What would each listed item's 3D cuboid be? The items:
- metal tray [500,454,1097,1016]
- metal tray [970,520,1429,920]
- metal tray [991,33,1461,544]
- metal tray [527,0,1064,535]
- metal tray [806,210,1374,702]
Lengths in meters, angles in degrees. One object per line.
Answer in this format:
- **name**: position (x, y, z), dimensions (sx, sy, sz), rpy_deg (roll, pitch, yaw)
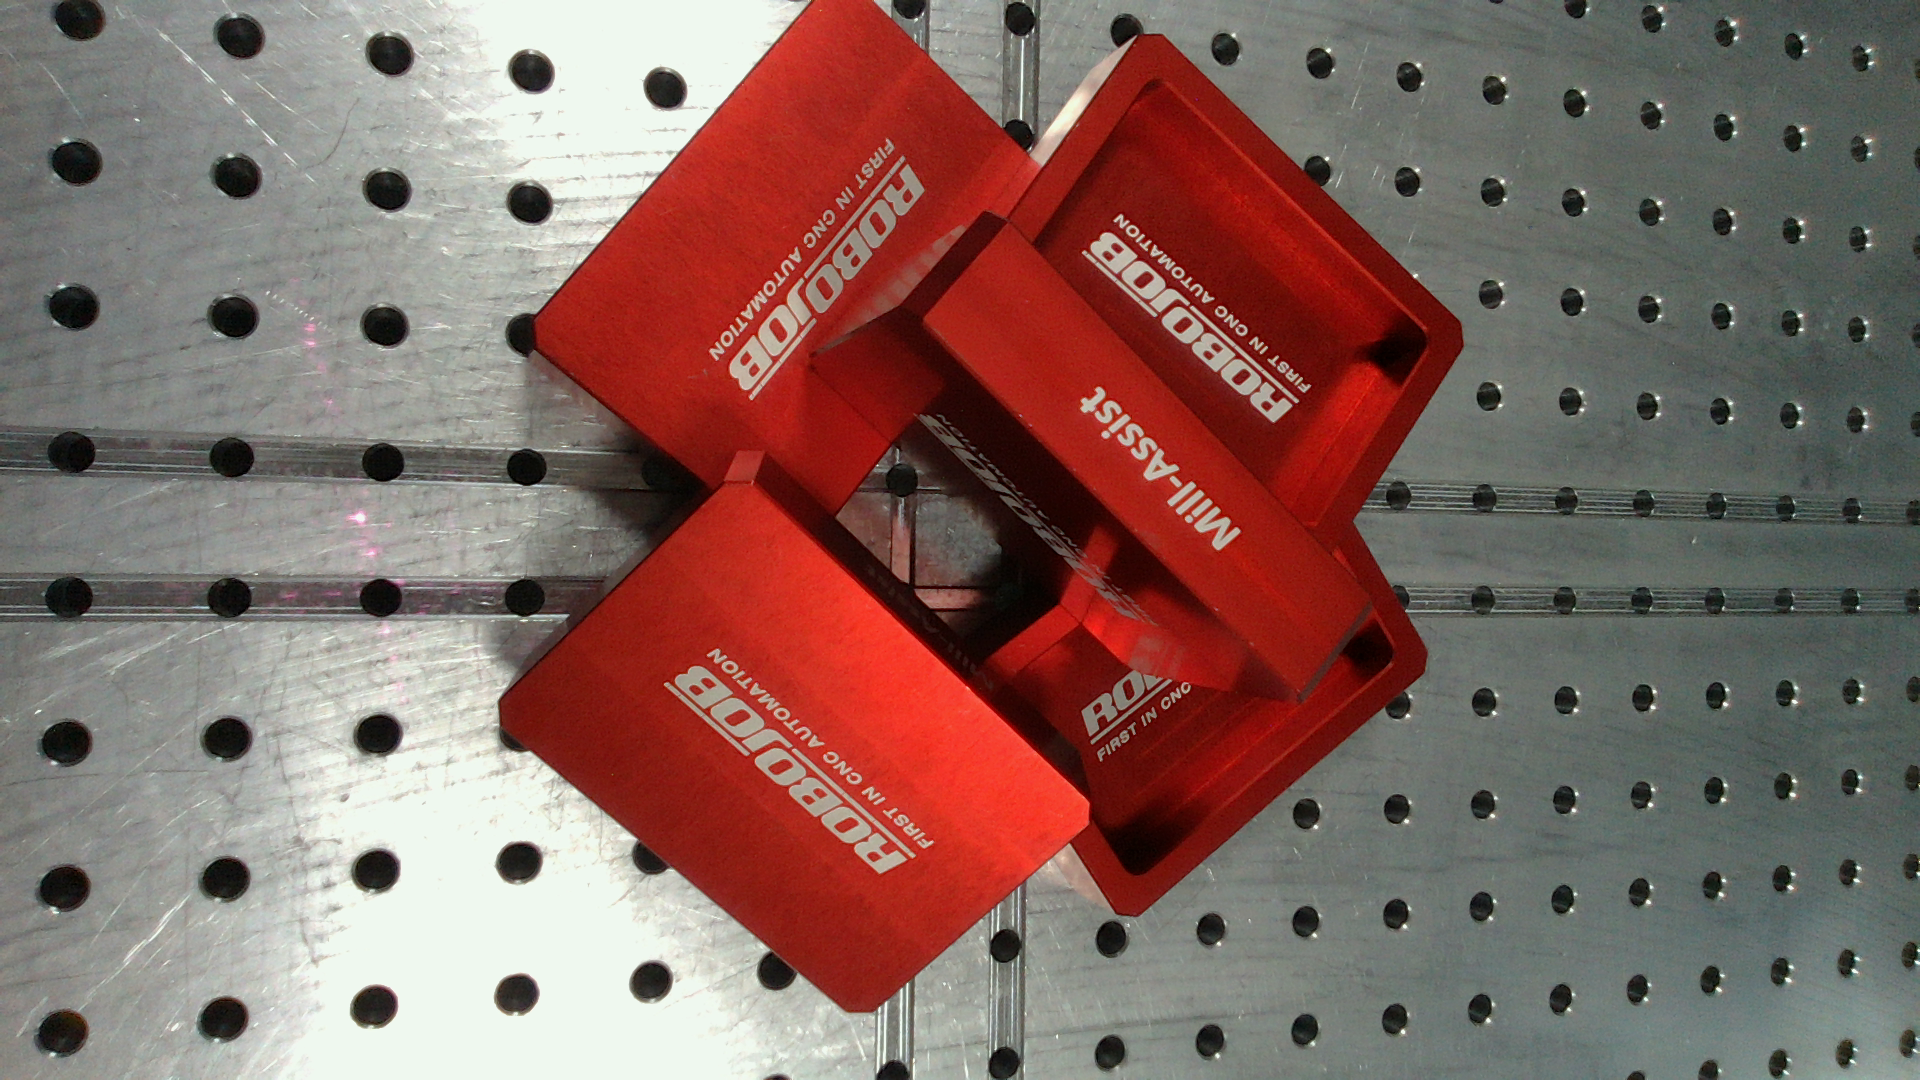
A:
- **metal tray**: position (-0.039, 0.053, 0.359), dimensions (0.090, 0.030, 0.130), rpy_deg (-43, 105, 11)
- **metal tray**: position (0.070, 0.039, 0.418), dimensions (0.130, 0.030, 0.090), rpy_deg (-35, 102, -16)
- **metal tray**: position (0.069, -0.063, 0.386), dimensions (0.130, 0.030, 0.090), rpy_deg (38, 78, -16)
- **metal tray**: position (-0.042, -0.073, 0.377), dimensions (0.090, 0.030, 0.130), rpy_deg (40, 77, -16)
- **metal tray**: position (0.029, -0.016, 0.339), dimensions (0.130, 0.090, 0.030), rpy_deg (43, 77, -15)
